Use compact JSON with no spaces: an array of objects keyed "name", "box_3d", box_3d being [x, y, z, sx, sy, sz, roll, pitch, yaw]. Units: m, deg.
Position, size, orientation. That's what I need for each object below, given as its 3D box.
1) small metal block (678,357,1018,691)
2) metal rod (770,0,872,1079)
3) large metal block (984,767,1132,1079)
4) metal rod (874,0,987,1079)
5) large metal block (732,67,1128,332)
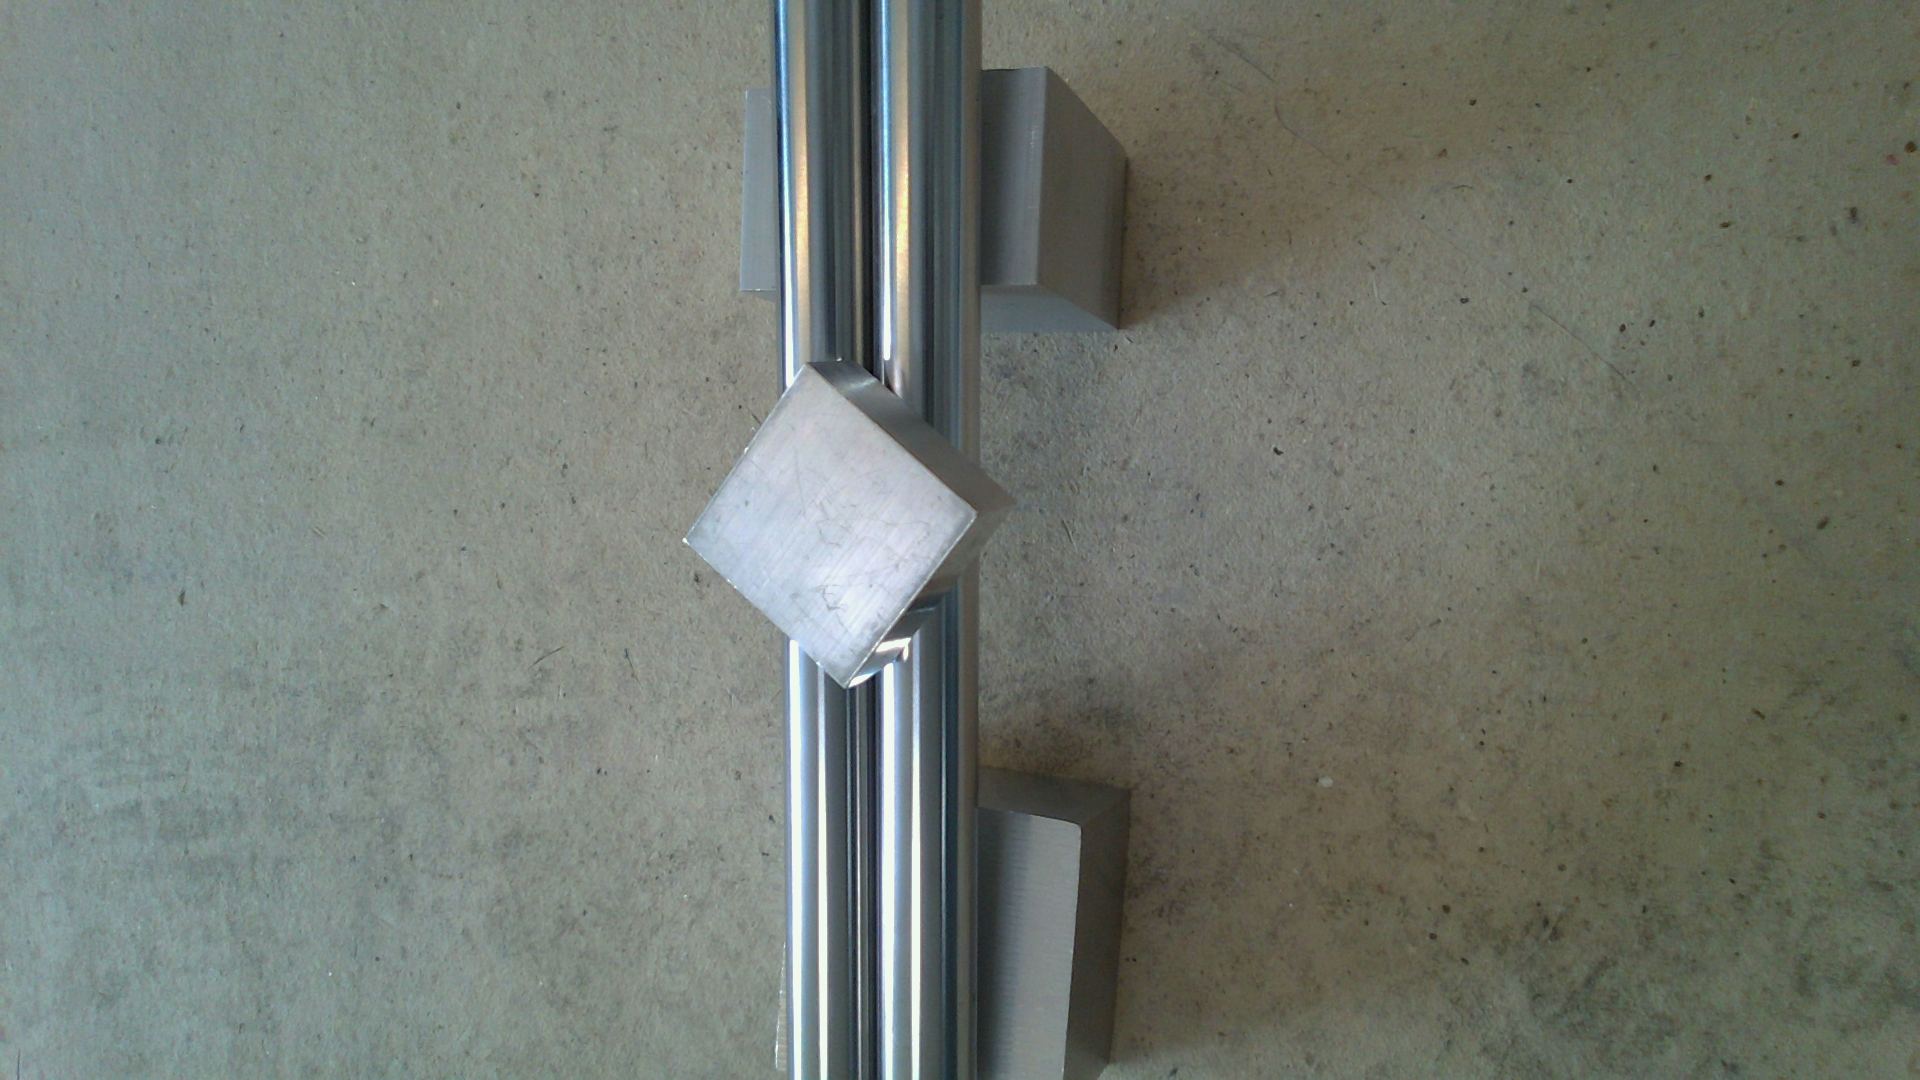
[{"name":"small metal block","box_3d":[-0.025,-0.004,0.301,0.050,0.025,0.050,41,109,10]},{"name":"metal rod","box_3d":[-0.032,-0.006,0.330,0.025,0.025,0.300,3,98,20]},{"name":"large metal block","box_3d":[0.000,0.107,0.382,0.080,0.050,0.080,5,92,20]},{"name":"metal rod","box_3d":[-0.007,-0.004,0.321,0.025,0.025,0.300,3,98,20]},{"name":"large metal block","box_3d":[-0.005,-0.086,0.369,0.080,0.080,0.050,4,91,20]}]
